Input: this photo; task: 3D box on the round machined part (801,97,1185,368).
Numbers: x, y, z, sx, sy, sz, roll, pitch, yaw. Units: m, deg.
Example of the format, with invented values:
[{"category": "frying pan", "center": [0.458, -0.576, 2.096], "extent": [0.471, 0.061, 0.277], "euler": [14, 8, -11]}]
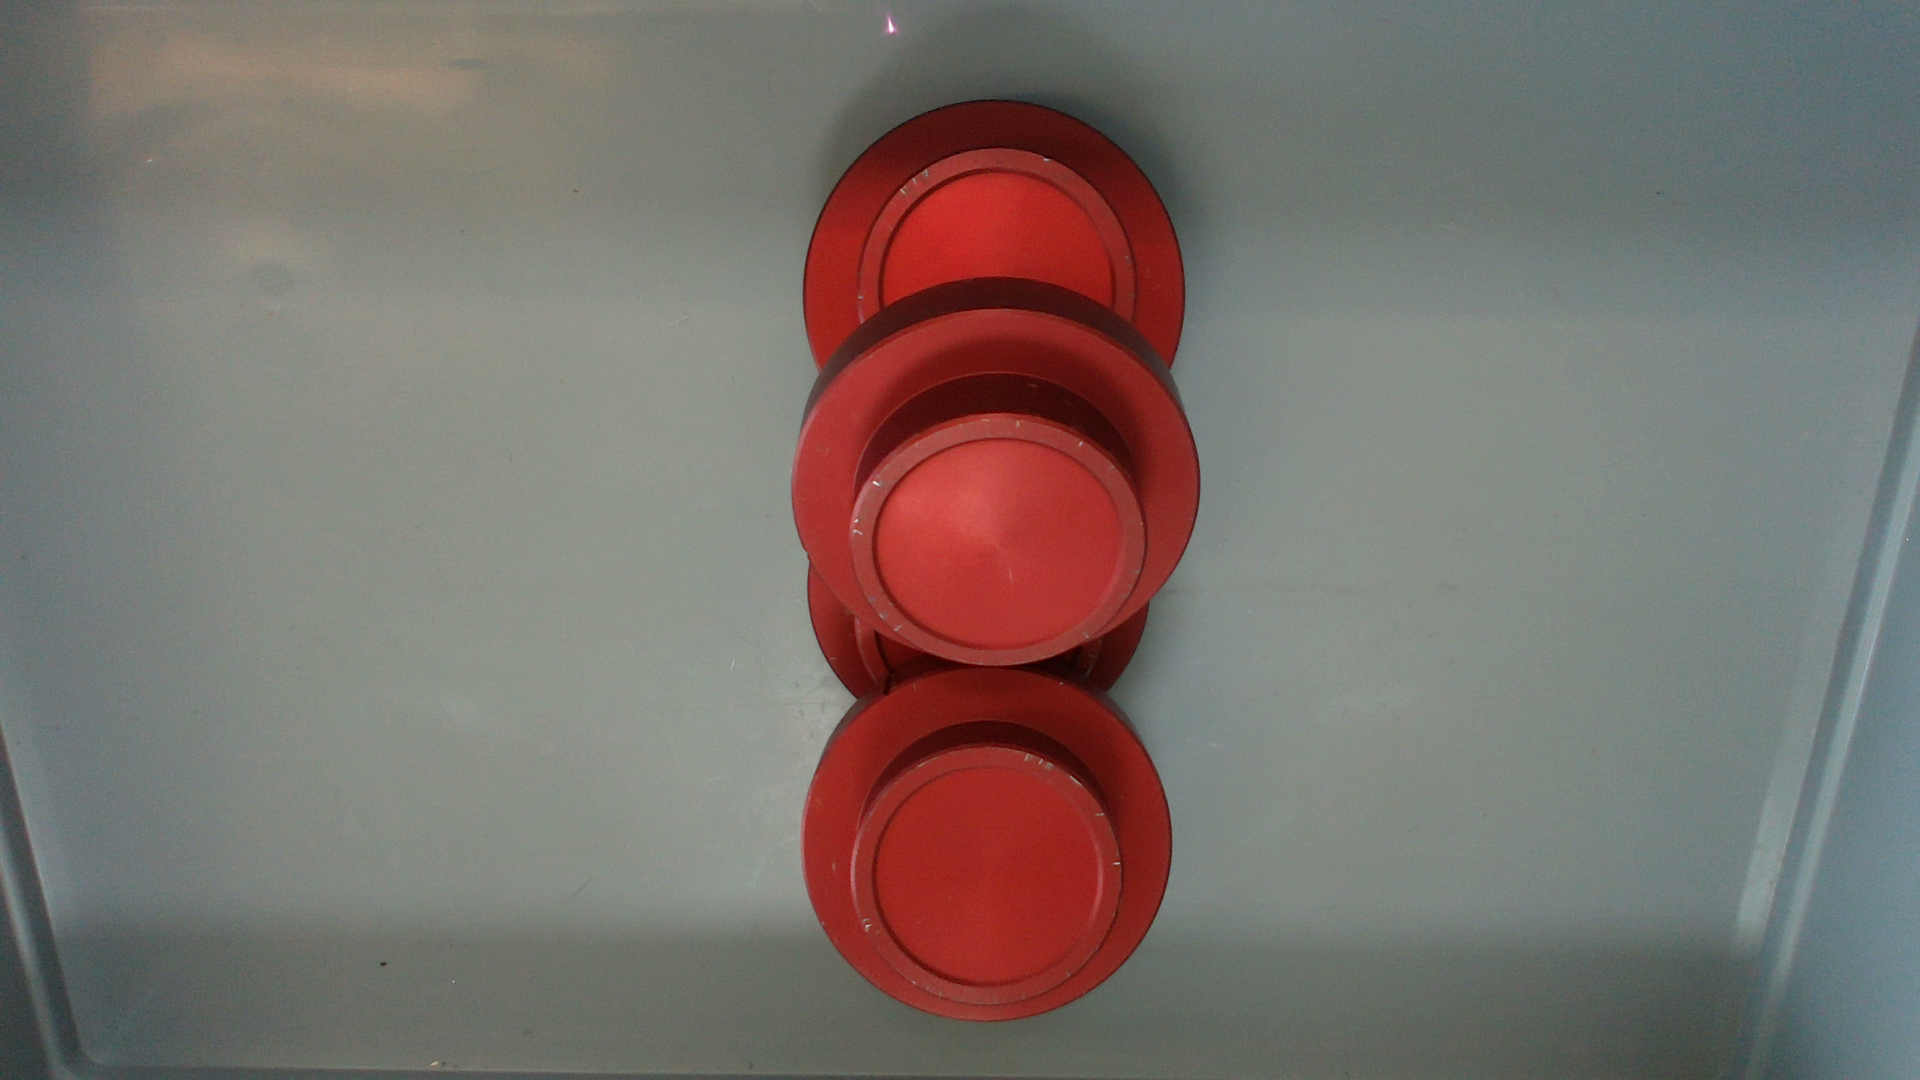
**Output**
[{"category": "round machined part", "center": [0.008, -0.063, 0.349], "extent": [0.098, 0.042, 0.098], "euler": [0, 94, 0]}]

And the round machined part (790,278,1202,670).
[{"category": "round machined part", "center": [0.009, -0.008, 0.326], "extent": [0.098, 0.042, 0.098], "euler": [0, 123, 0]}]

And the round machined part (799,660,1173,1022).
[{"category": "round machined part", "center": [0.007, 0.081, 0.359], "extent": [0.098, 0.042, 0.098], "euler": [0, 99, 0]}]

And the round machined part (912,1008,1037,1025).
[{"category": "round machined part", "center": [0.007, 0.106, 0.408], "extent": [0.098, 0.042, 0.098], "euler": [0, 125, 0]}]

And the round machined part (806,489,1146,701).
[{"category": "round machined part", "center": [0.005, 0.015, 0.389], "extent": [0.098, 0.042, 0.098], "euler": [0, 109, 0]}]
